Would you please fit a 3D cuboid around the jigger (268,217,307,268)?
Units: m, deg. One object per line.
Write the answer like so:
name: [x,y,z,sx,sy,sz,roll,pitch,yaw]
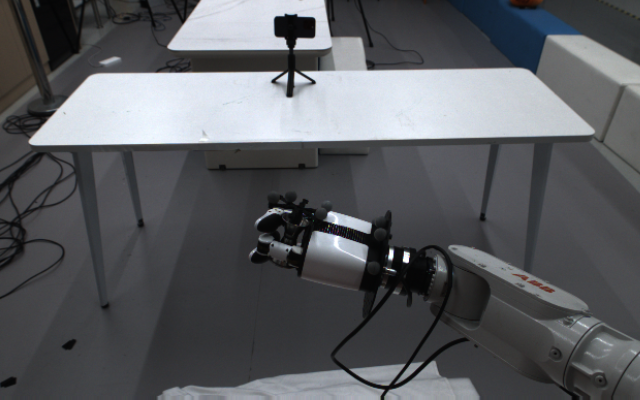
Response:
jigger: [-0.041,0.058,0.700,0.043,0.071,0.043,15,17,-5]
